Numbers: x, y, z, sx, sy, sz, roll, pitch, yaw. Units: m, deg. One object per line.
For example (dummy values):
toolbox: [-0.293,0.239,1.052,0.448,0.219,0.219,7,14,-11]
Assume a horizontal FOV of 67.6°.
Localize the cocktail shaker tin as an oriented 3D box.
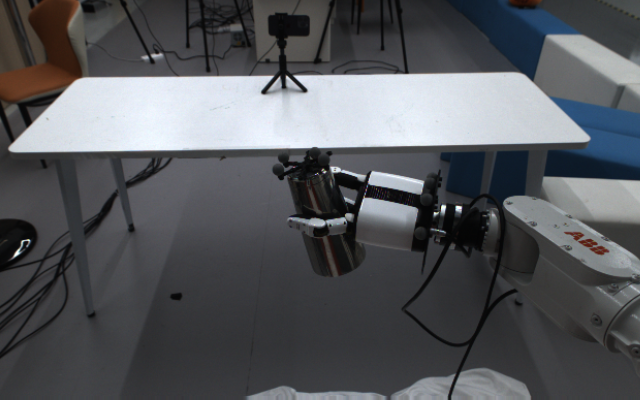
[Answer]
cocktail shaker tin: [0.006,0.025,0.751,0.093,0.170,0.093,-15,29,8]
